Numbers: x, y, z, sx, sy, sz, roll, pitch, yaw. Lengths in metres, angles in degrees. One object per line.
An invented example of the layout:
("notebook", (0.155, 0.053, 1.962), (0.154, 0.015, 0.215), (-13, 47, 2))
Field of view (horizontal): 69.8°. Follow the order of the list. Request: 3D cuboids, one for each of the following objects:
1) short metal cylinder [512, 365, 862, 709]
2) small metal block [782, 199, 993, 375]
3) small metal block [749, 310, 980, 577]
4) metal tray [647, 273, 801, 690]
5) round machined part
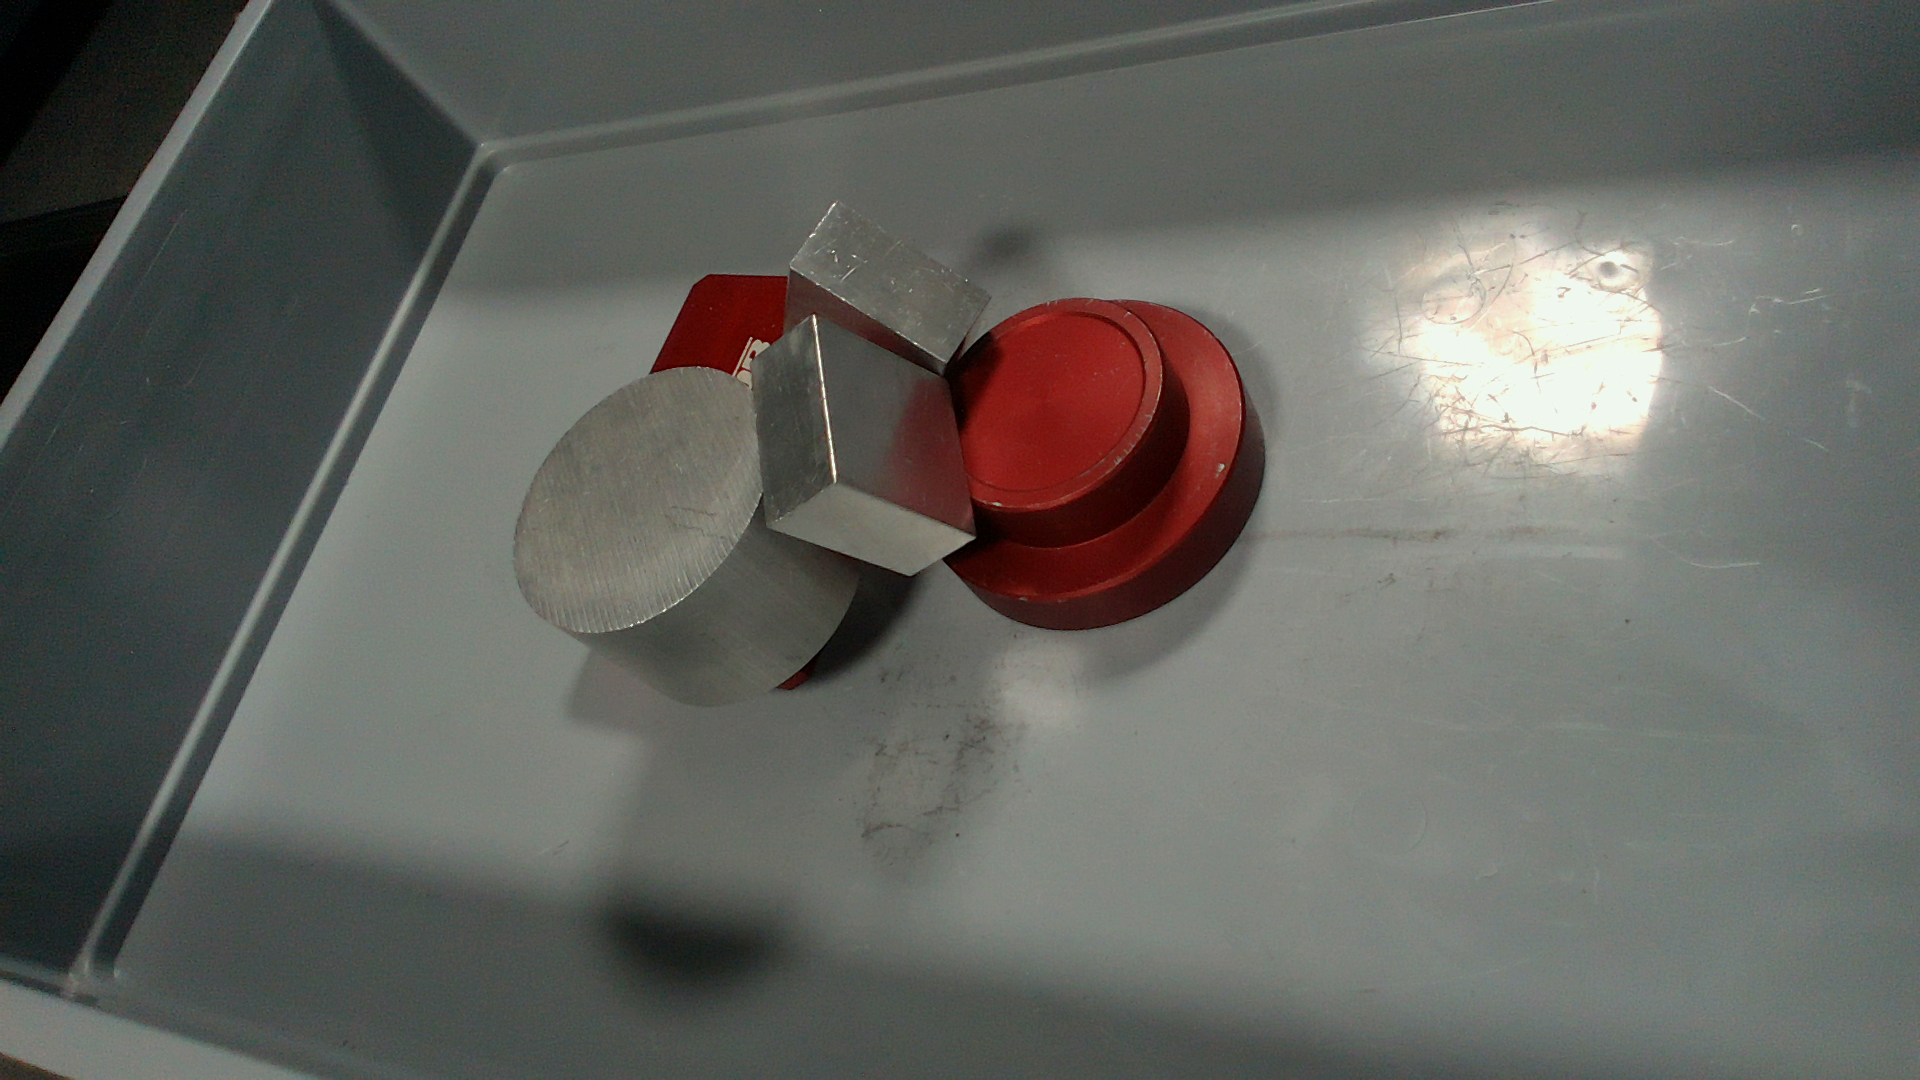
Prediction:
("short metal cylinder", (-0.074, -0.001, 0.378), (0.080, 0.050, 0.080), (-14, 56, 21))
("small metal block", (-0.023, -0.062, 0.394), (0.050, 0.050, 0.025), (31, 70, 1))
("small metal block", (-0.025, -0.024, 0.354), (0.025, 0.050, 0.050), (-31, 55, 33))
("metal tray", (-0.070, -0.024, 0.439), (0.090, 0.030, 0.130), (8, 66, 32))
("round machined part", (0.031, -0.028, 0.381), (0.098, 0.042, 0.098), (-13, 56, 21))
